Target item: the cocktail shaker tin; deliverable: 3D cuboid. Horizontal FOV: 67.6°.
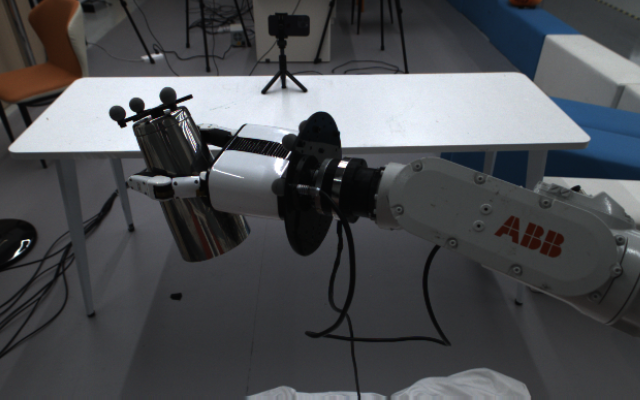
[{"bbox_3d":[-0.157,-0.020,0.585,0.093,0.170,0.093,-17,20,7],"label":"cocktail shaker tin"}]
